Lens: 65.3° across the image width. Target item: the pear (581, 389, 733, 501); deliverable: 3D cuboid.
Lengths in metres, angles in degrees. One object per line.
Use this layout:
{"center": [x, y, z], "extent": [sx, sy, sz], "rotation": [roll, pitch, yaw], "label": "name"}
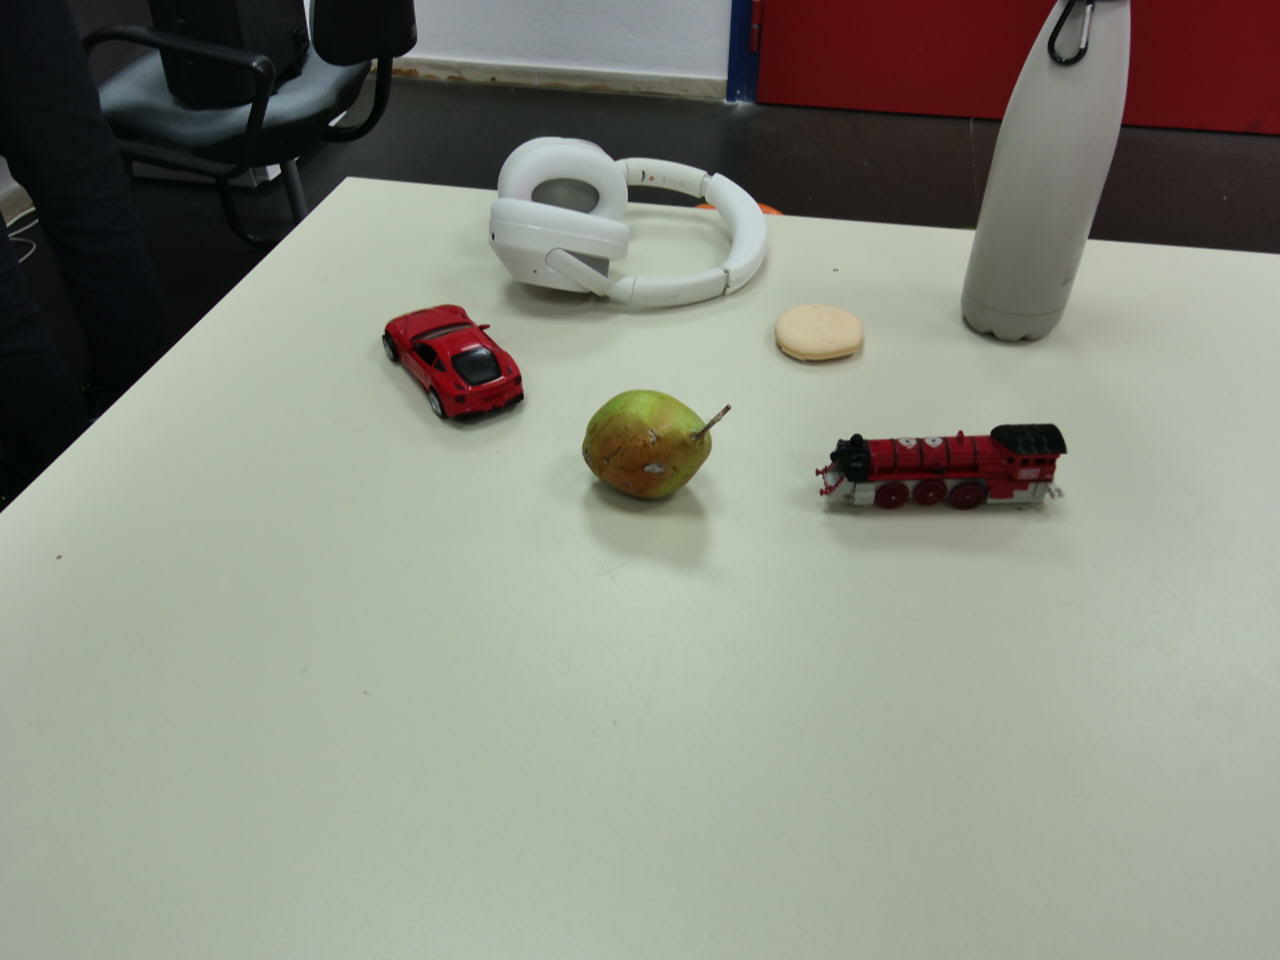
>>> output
{"center": [0.005, -0.022, 0.574], "extent": [0.068, 0.069, 0.070], "rotation": [-18, 42, -20], "label": "pear"}
